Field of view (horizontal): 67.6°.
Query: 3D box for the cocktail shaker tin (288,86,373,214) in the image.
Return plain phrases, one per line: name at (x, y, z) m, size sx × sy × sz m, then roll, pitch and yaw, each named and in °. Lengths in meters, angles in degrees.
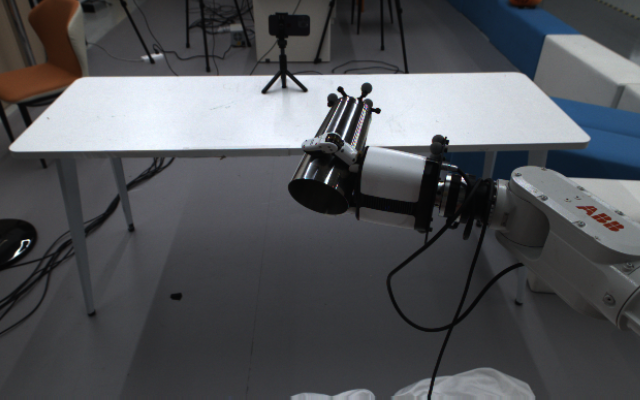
cocktail shaker tin at (0.023, -0.074, 0.731) m, size 0.093 × 0.093 × 0.170 m, roll 13°, pitch 60°, yaw 16°
